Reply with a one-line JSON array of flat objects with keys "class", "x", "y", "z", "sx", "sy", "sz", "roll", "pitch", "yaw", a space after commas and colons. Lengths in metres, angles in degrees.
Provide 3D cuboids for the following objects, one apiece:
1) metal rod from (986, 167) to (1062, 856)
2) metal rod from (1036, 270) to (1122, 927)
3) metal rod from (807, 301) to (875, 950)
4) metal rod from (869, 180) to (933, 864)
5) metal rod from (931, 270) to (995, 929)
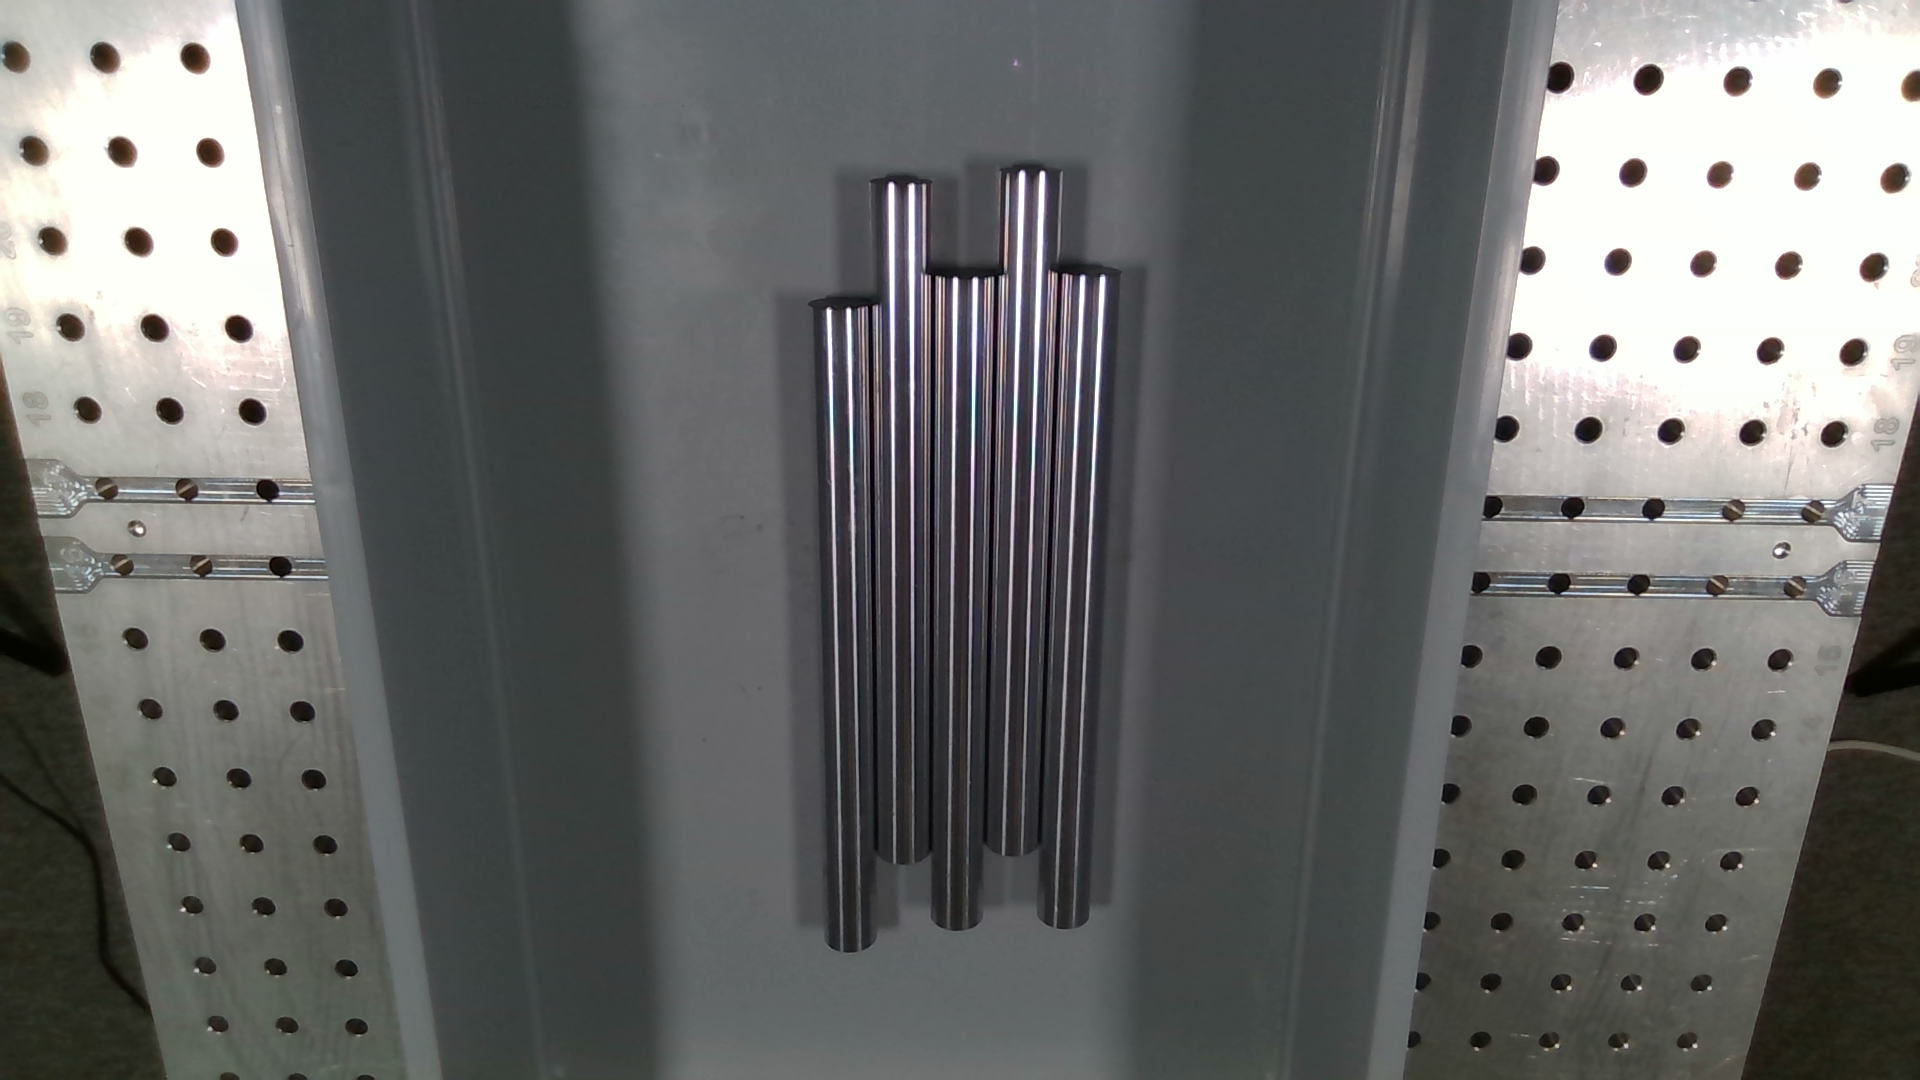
[{"class": "metal rod", "x": 0.025, "y": -0.002, "z": 0.583, "sx": 0.025, "sy": 0.025, "sz": 0.301, "roll": 1, "pitch": 110, "yaw": 0}, {"class": "metal rod", "x": 0.050, "y": 0.034, "z": 0.596, "sx": 0.025, "sy": 0.025, "sz": 0.301, "roll": 1, "pitch": 110, "yaw": 0}, {"class": "metal rod", "x": -0.050, "y": 0.046, "z": 0.601, "sx": 0.025, "sy": 0.025, "sz": 0.301, "roll": 1, "pitch": 110, "yaw": 0}, {"class": "metal rod", "x": -0.025, "y": 0.002, "z": 0.584, "sx": 0.025, "sy": 0.025, "sz": 0.301, "roll": 1, "pitch": 110, "yaw": 0}, {"class": "metal rod", "x": 0.000, "y": 0.035, "z": 0.597, "sx": 0.025, "sy": 0.025, "sz": 0.301, "roll": 1, "pitch": 110, "yaw": 0}]
